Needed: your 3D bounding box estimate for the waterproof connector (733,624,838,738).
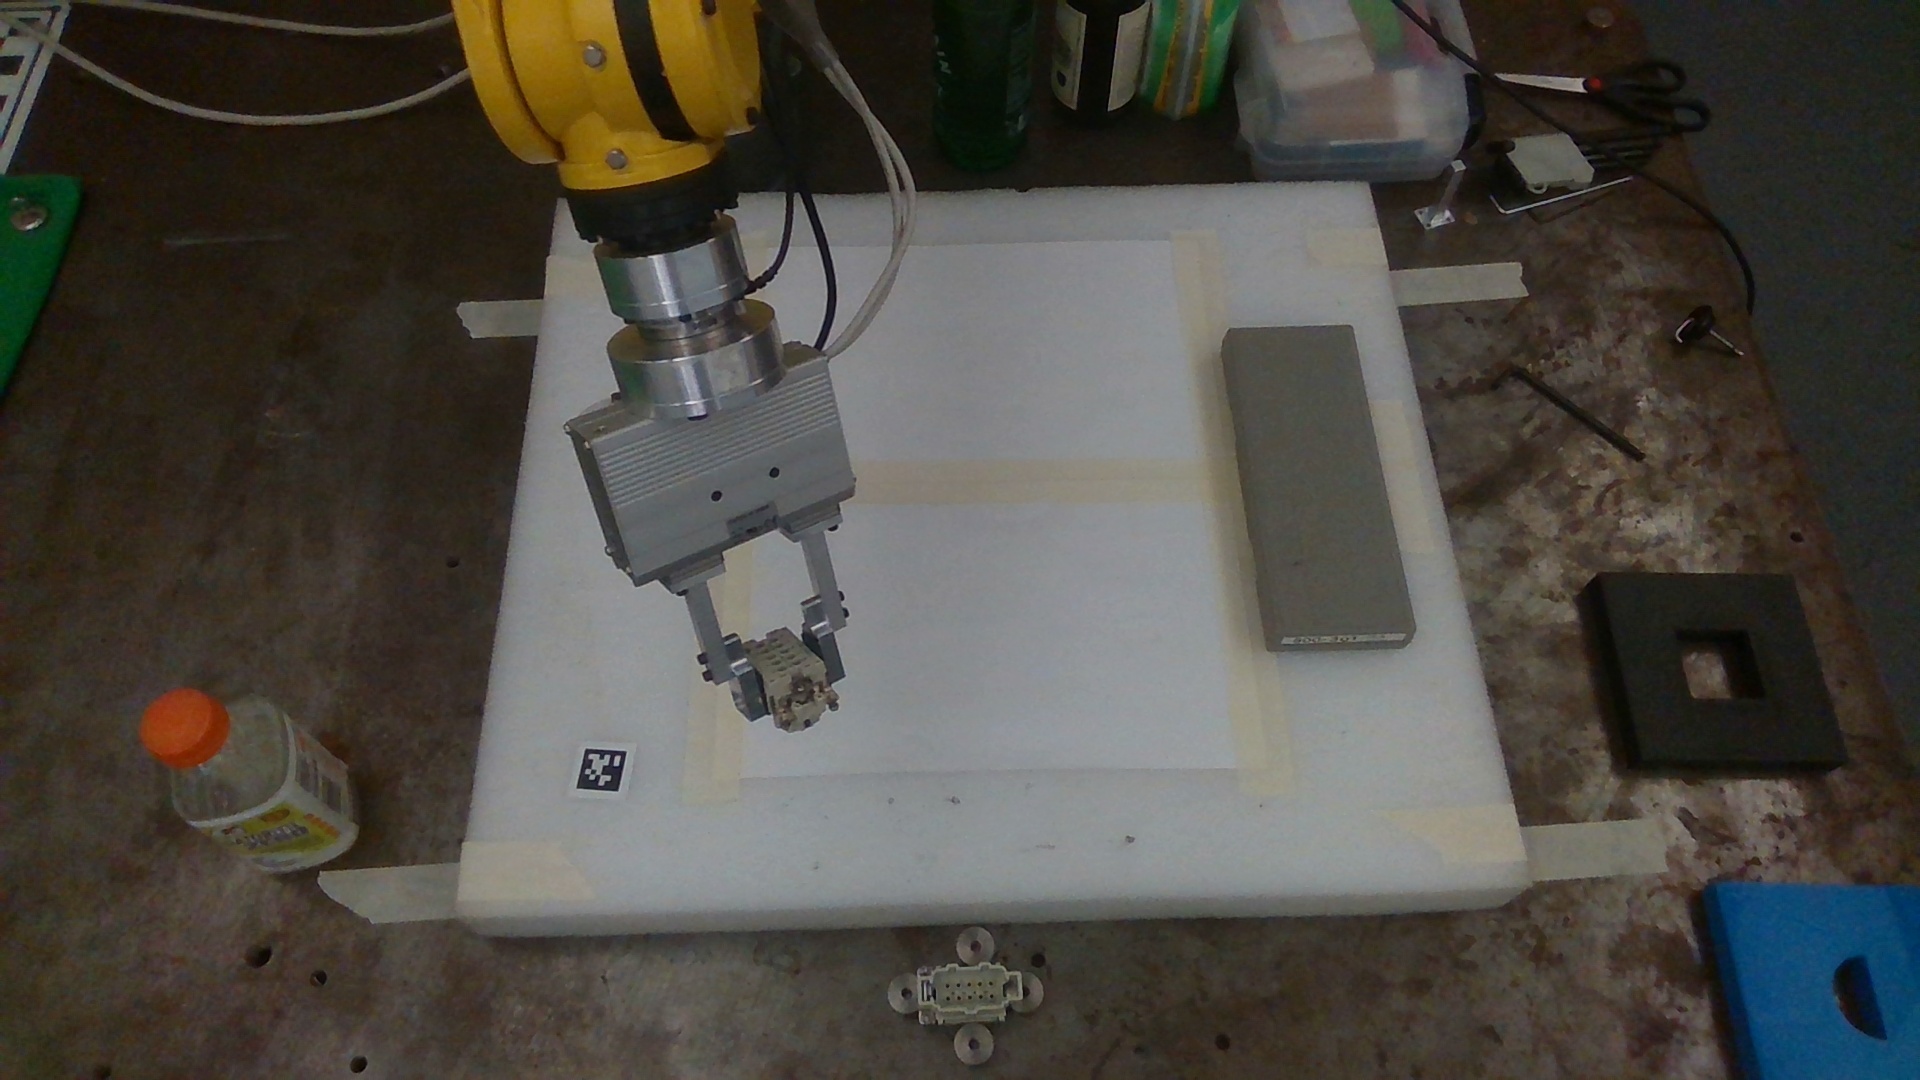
[{"bbox_3d":[-0.093,0.075,0.732,0.036,0.038,0.069,-22,33,-21],"label":"waterproof connector"}]
